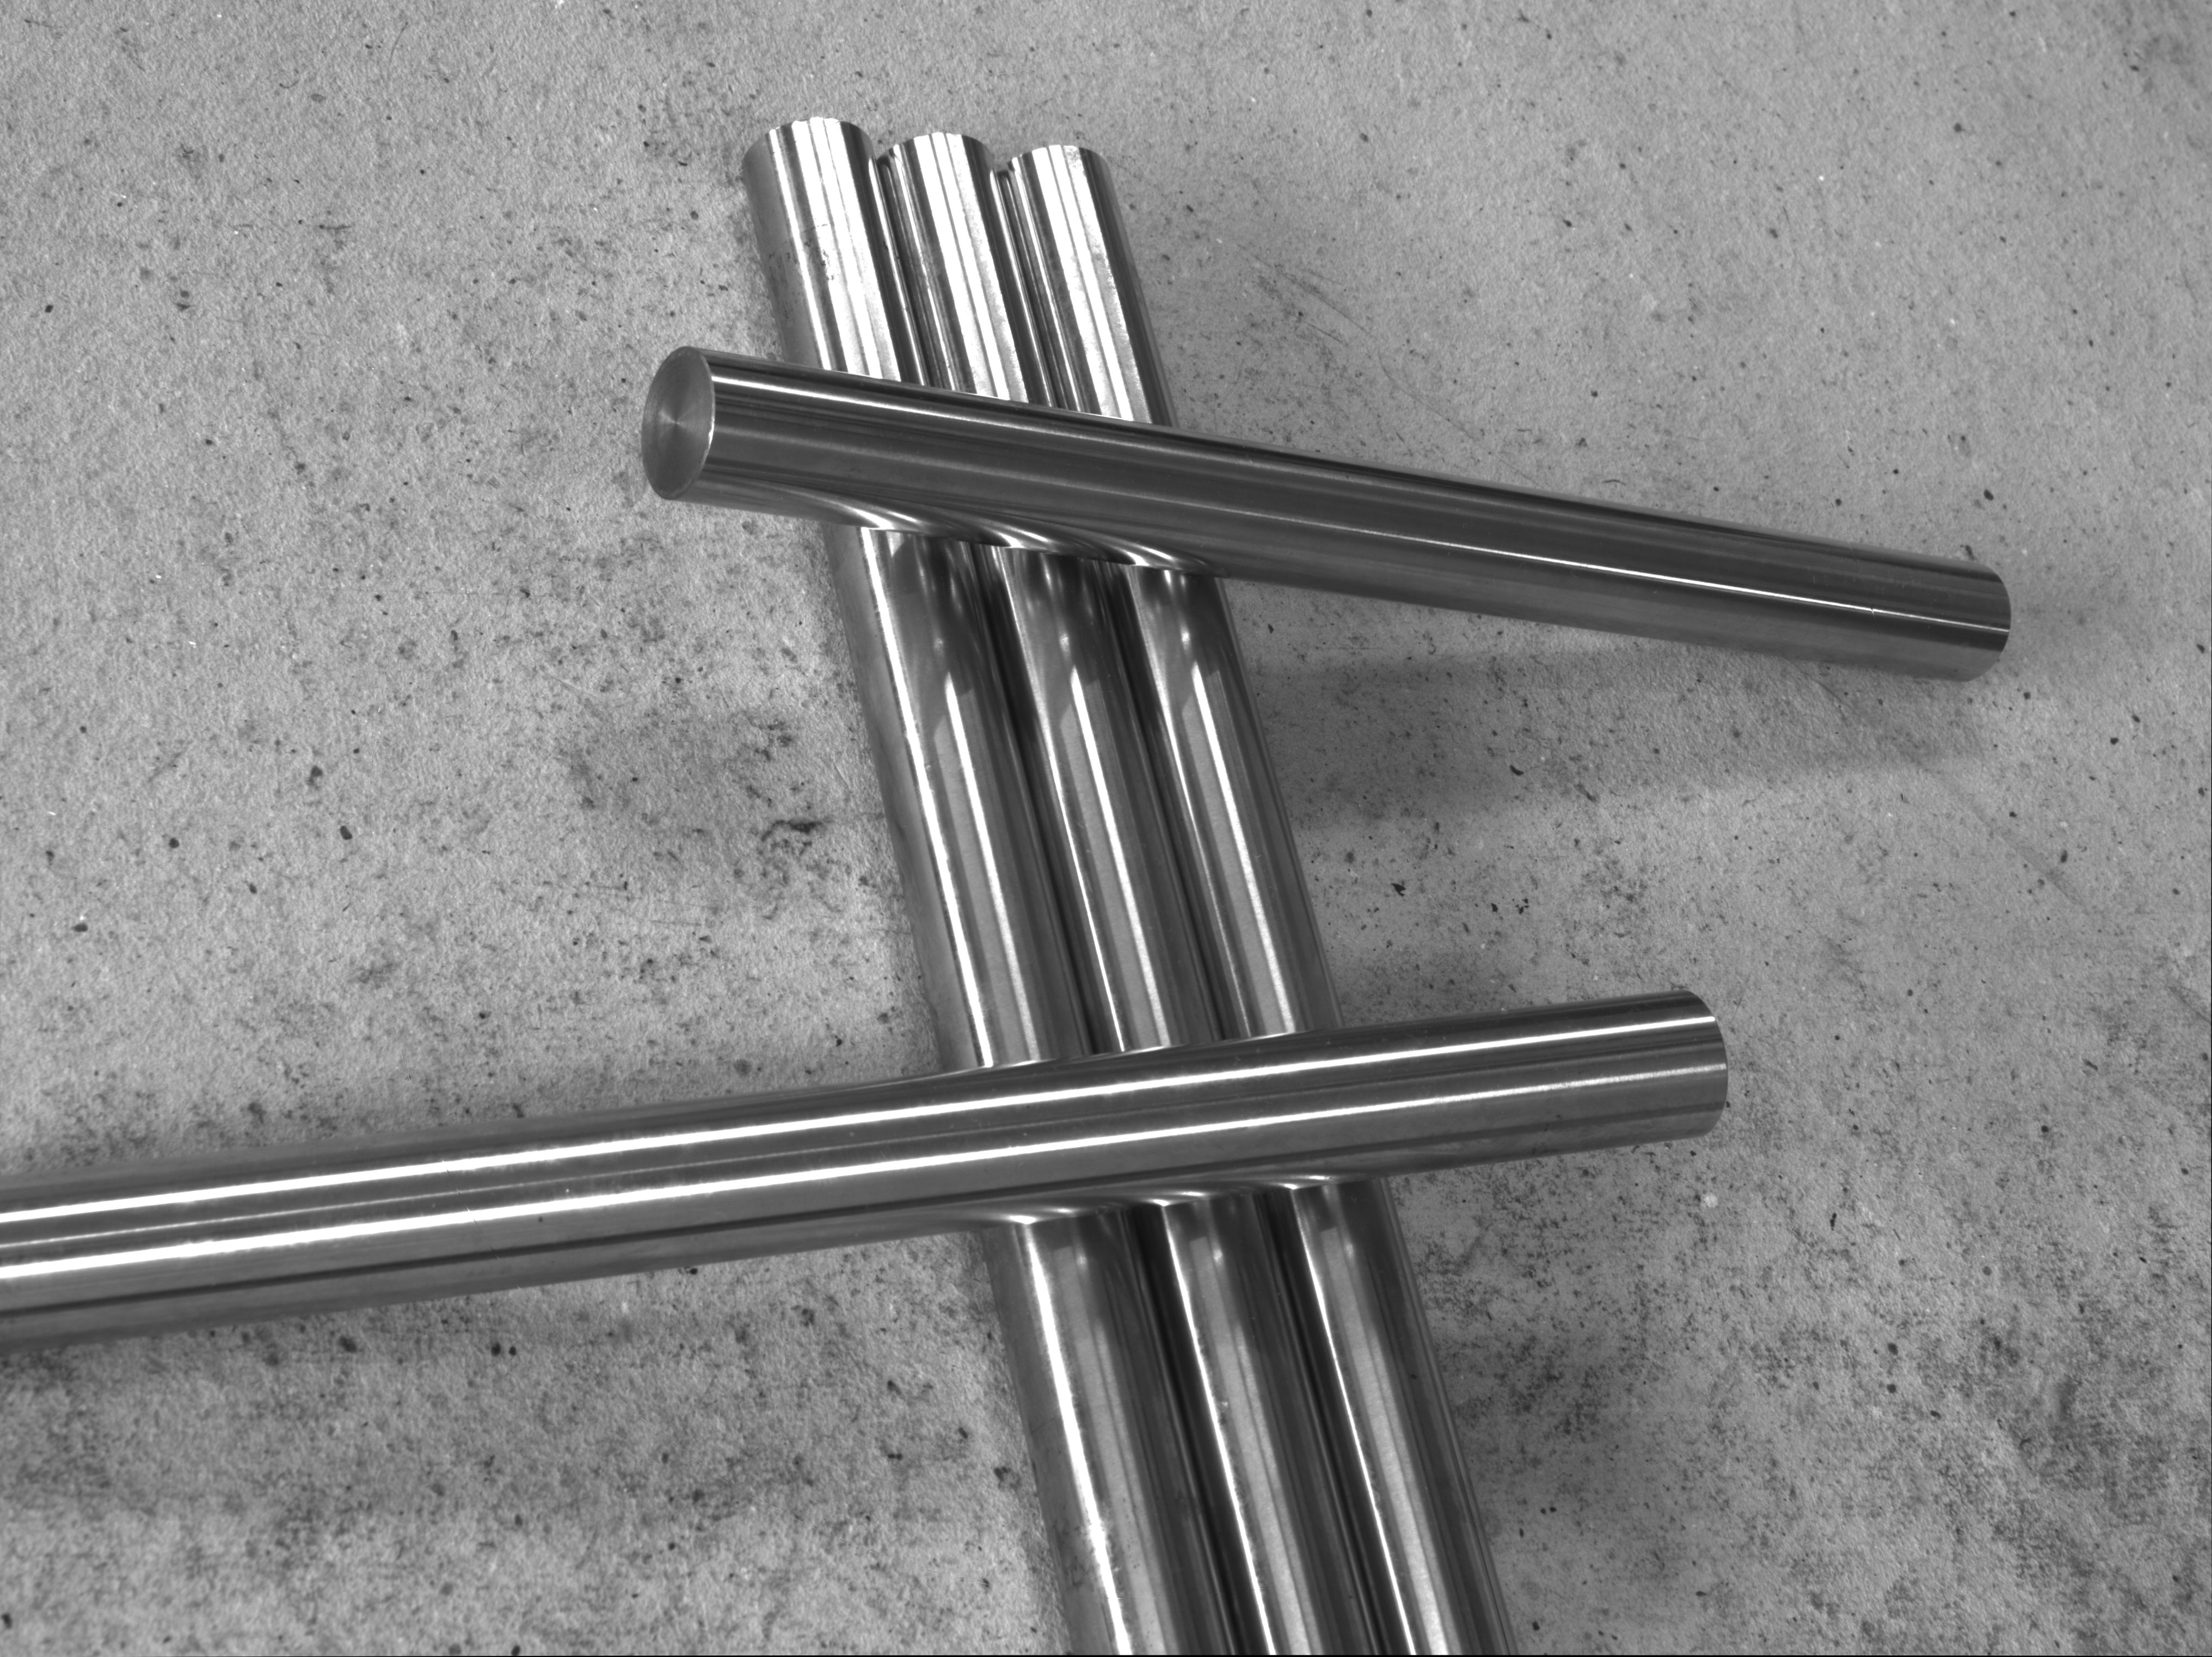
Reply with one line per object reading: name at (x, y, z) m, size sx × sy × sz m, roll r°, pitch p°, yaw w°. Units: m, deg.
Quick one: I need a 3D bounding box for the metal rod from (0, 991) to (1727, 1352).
metal rod at (-0.041, 0.051, 0.561) m, size 0.301 × 0.025 × 0.025 m, roll -5°, pitch 64°, yaw -22°

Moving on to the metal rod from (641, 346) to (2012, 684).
metal rod at (0.055, -0.054, 0.676) m, size 0.301 × 0.025 × 0.025 m, roll 5°, pitch 59°, yaw -34°

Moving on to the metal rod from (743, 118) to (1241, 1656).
metal rod at (-0.022, 0.007, 0.622) m, size 0.025 × 0.025 × 0.300 m, roll 0°, pitch 62°, yaw -28°

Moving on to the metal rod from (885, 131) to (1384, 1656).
metal rod at (0.000, 0.007, 0.633) m, size 0.025 × 0.025 × 0.300 m, roll 0°, pitch 62°, yaw -28°

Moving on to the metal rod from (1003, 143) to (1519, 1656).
metal rod at (0.022, 0.007, 0.645) m, size 0.025 × 0.025 × 0.300 m, roll 0°, pitch 62°, yaw -28°
